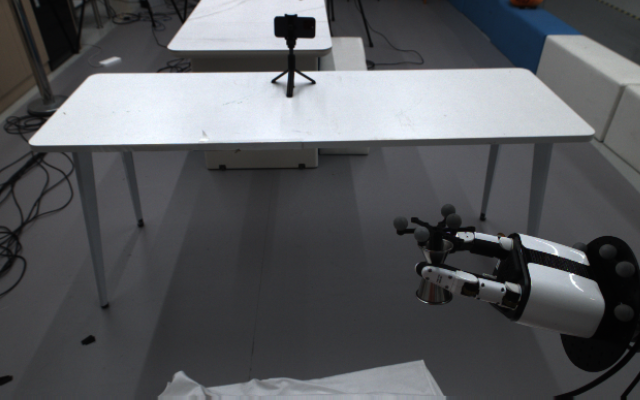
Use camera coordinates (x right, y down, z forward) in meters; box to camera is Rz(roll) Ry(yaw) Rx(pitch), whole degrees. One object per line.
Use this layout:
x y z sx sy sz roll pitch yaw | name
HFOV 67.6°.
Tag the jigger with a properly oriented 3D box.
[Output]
0.136 0.083 0.573 0.043 0.071 0.043 -2 19 1 | jigger
